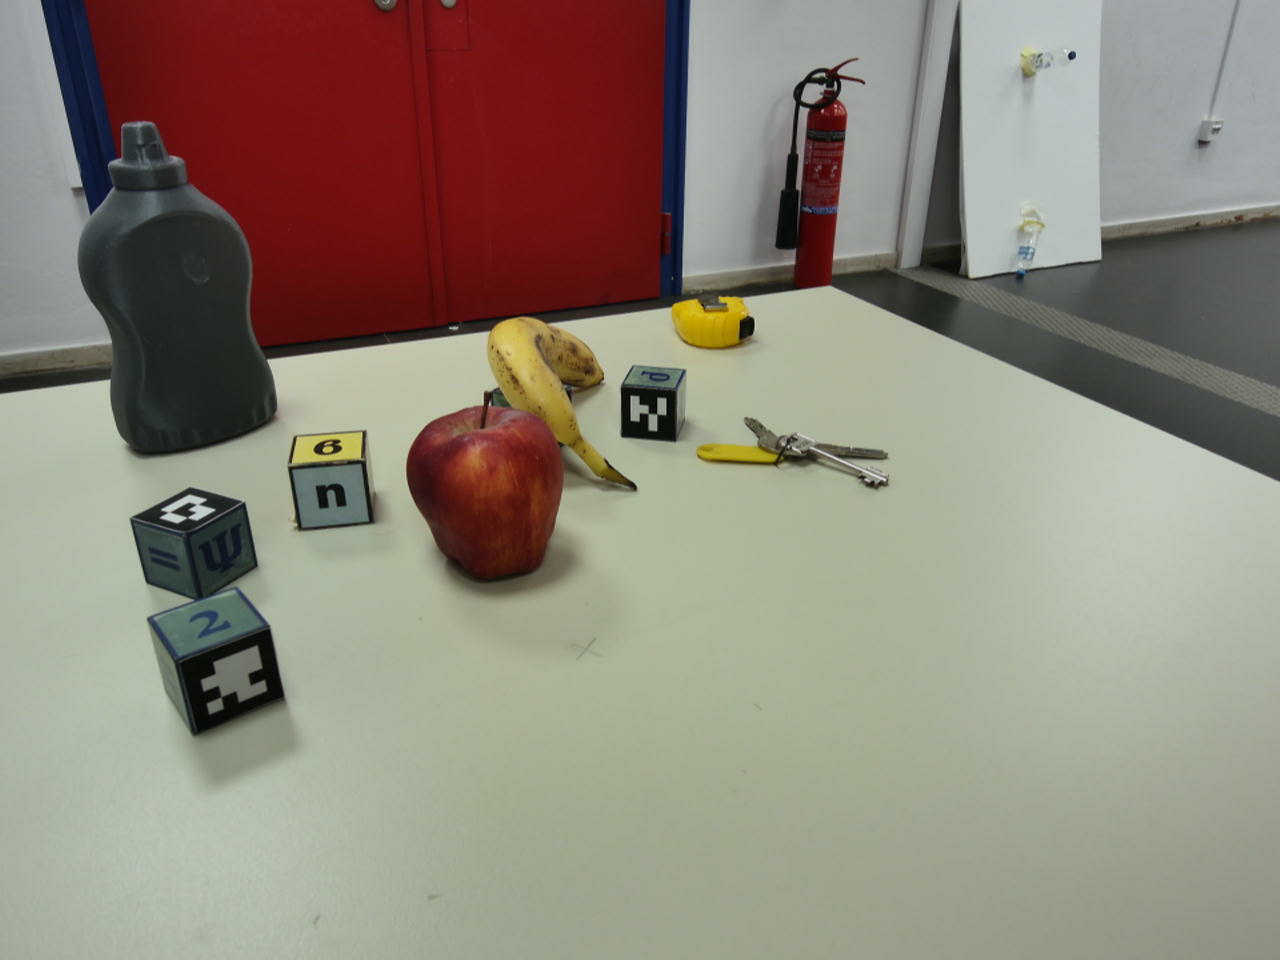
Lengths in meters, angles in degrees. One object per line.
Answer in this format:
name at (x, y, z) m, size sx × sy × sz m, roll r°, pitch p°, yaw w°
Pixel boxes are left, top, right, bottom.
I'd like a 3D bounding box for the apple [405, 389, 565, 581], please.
apple at (-0.077, -0.001, 0.499) m, size 0.083 × 0.090 × 0.083 m, roll 0°, pitch 25°, yaw 0°
